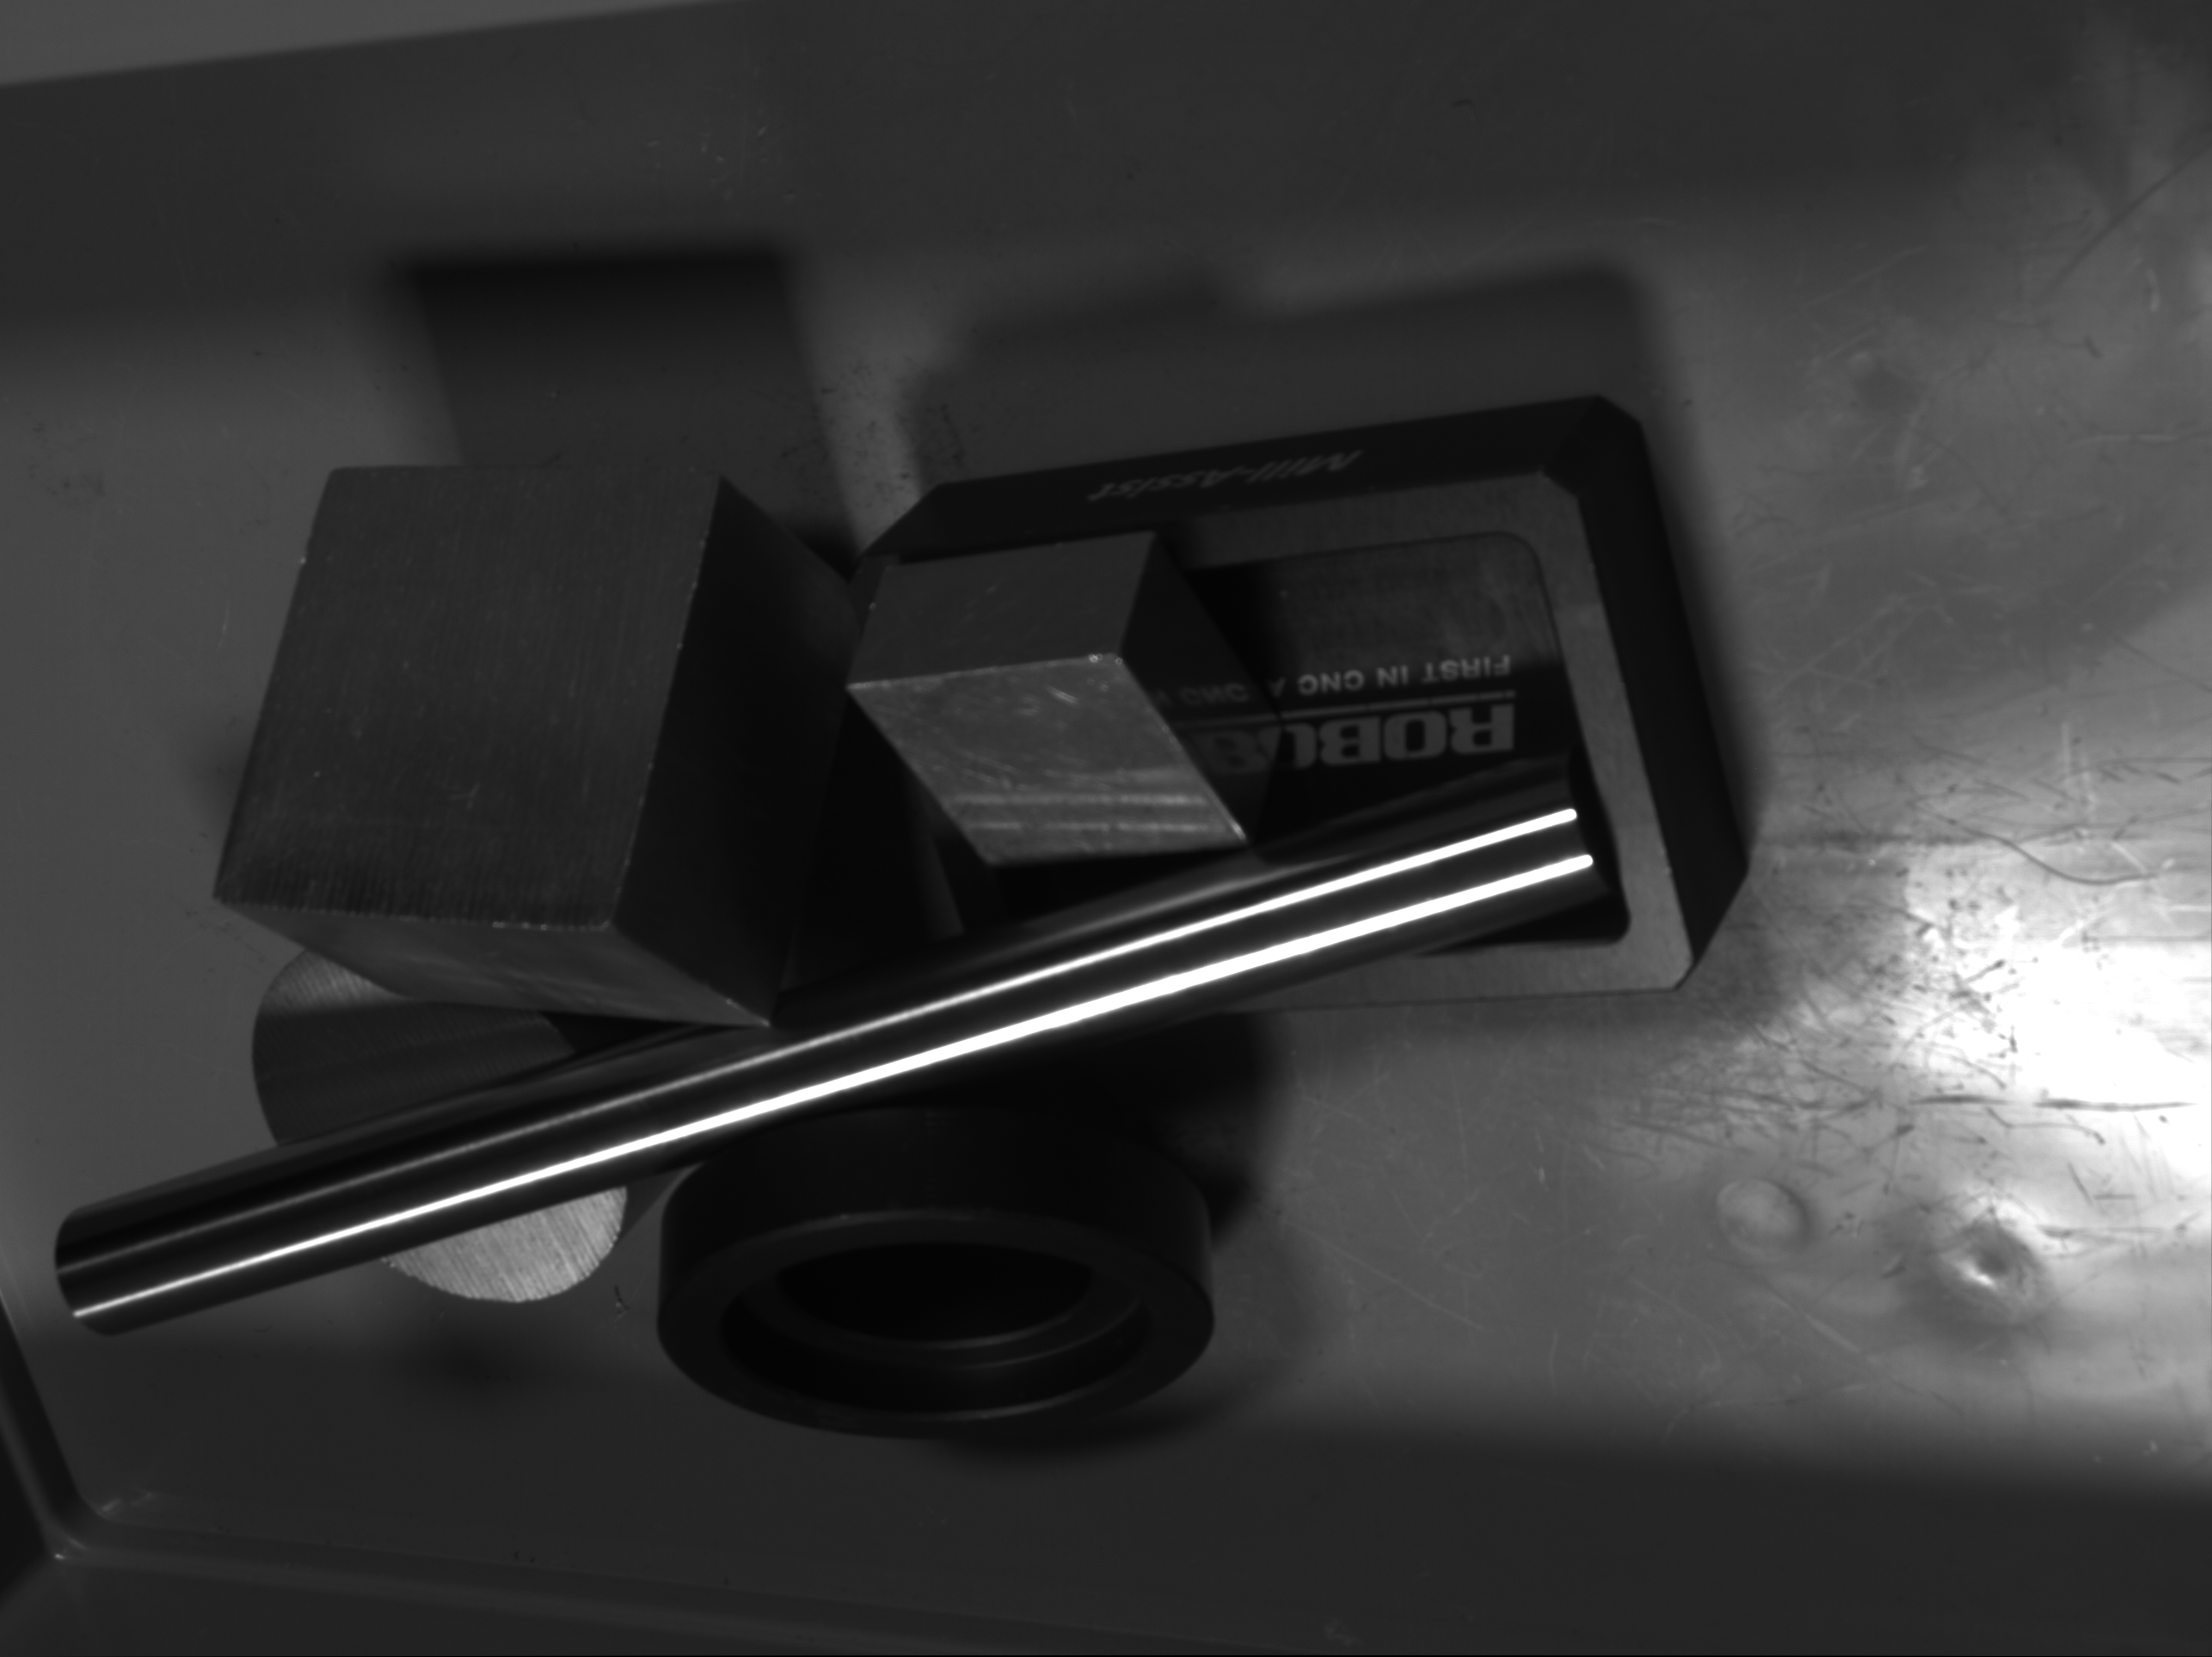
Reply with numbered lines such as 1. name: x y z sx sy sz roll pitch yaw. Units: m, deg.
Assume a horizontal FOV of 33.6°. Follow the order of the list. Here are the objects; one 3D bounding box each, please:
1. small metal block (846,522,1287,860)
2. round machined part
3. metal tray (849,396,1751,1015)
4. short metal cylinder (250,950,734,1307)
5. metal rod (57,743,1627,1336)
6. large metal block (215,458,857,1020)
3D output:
1. small metal block: -0.006 -0.021 0.593 0.050 0.025 0.050 -5 142 29
2. round machined part: -0.030 0.072 0.657 0.098 0.042 0.098 -1 148 0
3. metal tray: 0.031 -0.016 0.600 0.130 0.030 0.090 -5 116 29
4. short metal cylinder: -0.114 0.043 0.696 0.080 0.050 0.080 12 123 20
5. metal rod: -0.055 0.041 0.629 0.299 0.025 0.025 -18 110 22
6. large metal block: -0.094 -0.016 0.623 0.080 0.080 0.050 3 162 26
